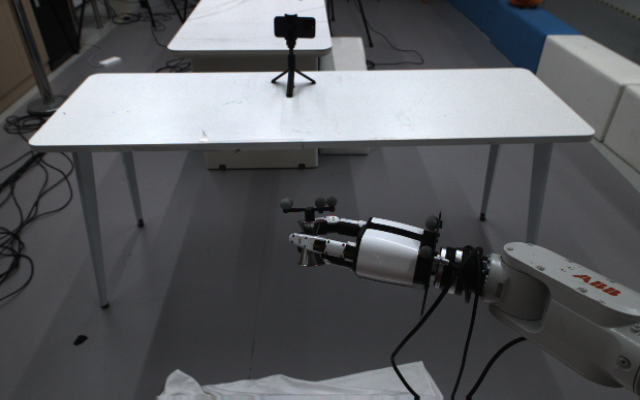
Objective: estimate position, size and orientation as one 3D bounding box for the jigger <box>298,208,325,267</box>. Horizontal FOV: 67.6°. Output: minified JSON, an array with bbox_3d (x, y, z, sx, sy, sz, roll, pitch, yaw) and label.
[{"bbox_3d":[-0.015,0.065,0.747,0.043,0.071,0.043,-2,3,0],"label":"jigger"}]
